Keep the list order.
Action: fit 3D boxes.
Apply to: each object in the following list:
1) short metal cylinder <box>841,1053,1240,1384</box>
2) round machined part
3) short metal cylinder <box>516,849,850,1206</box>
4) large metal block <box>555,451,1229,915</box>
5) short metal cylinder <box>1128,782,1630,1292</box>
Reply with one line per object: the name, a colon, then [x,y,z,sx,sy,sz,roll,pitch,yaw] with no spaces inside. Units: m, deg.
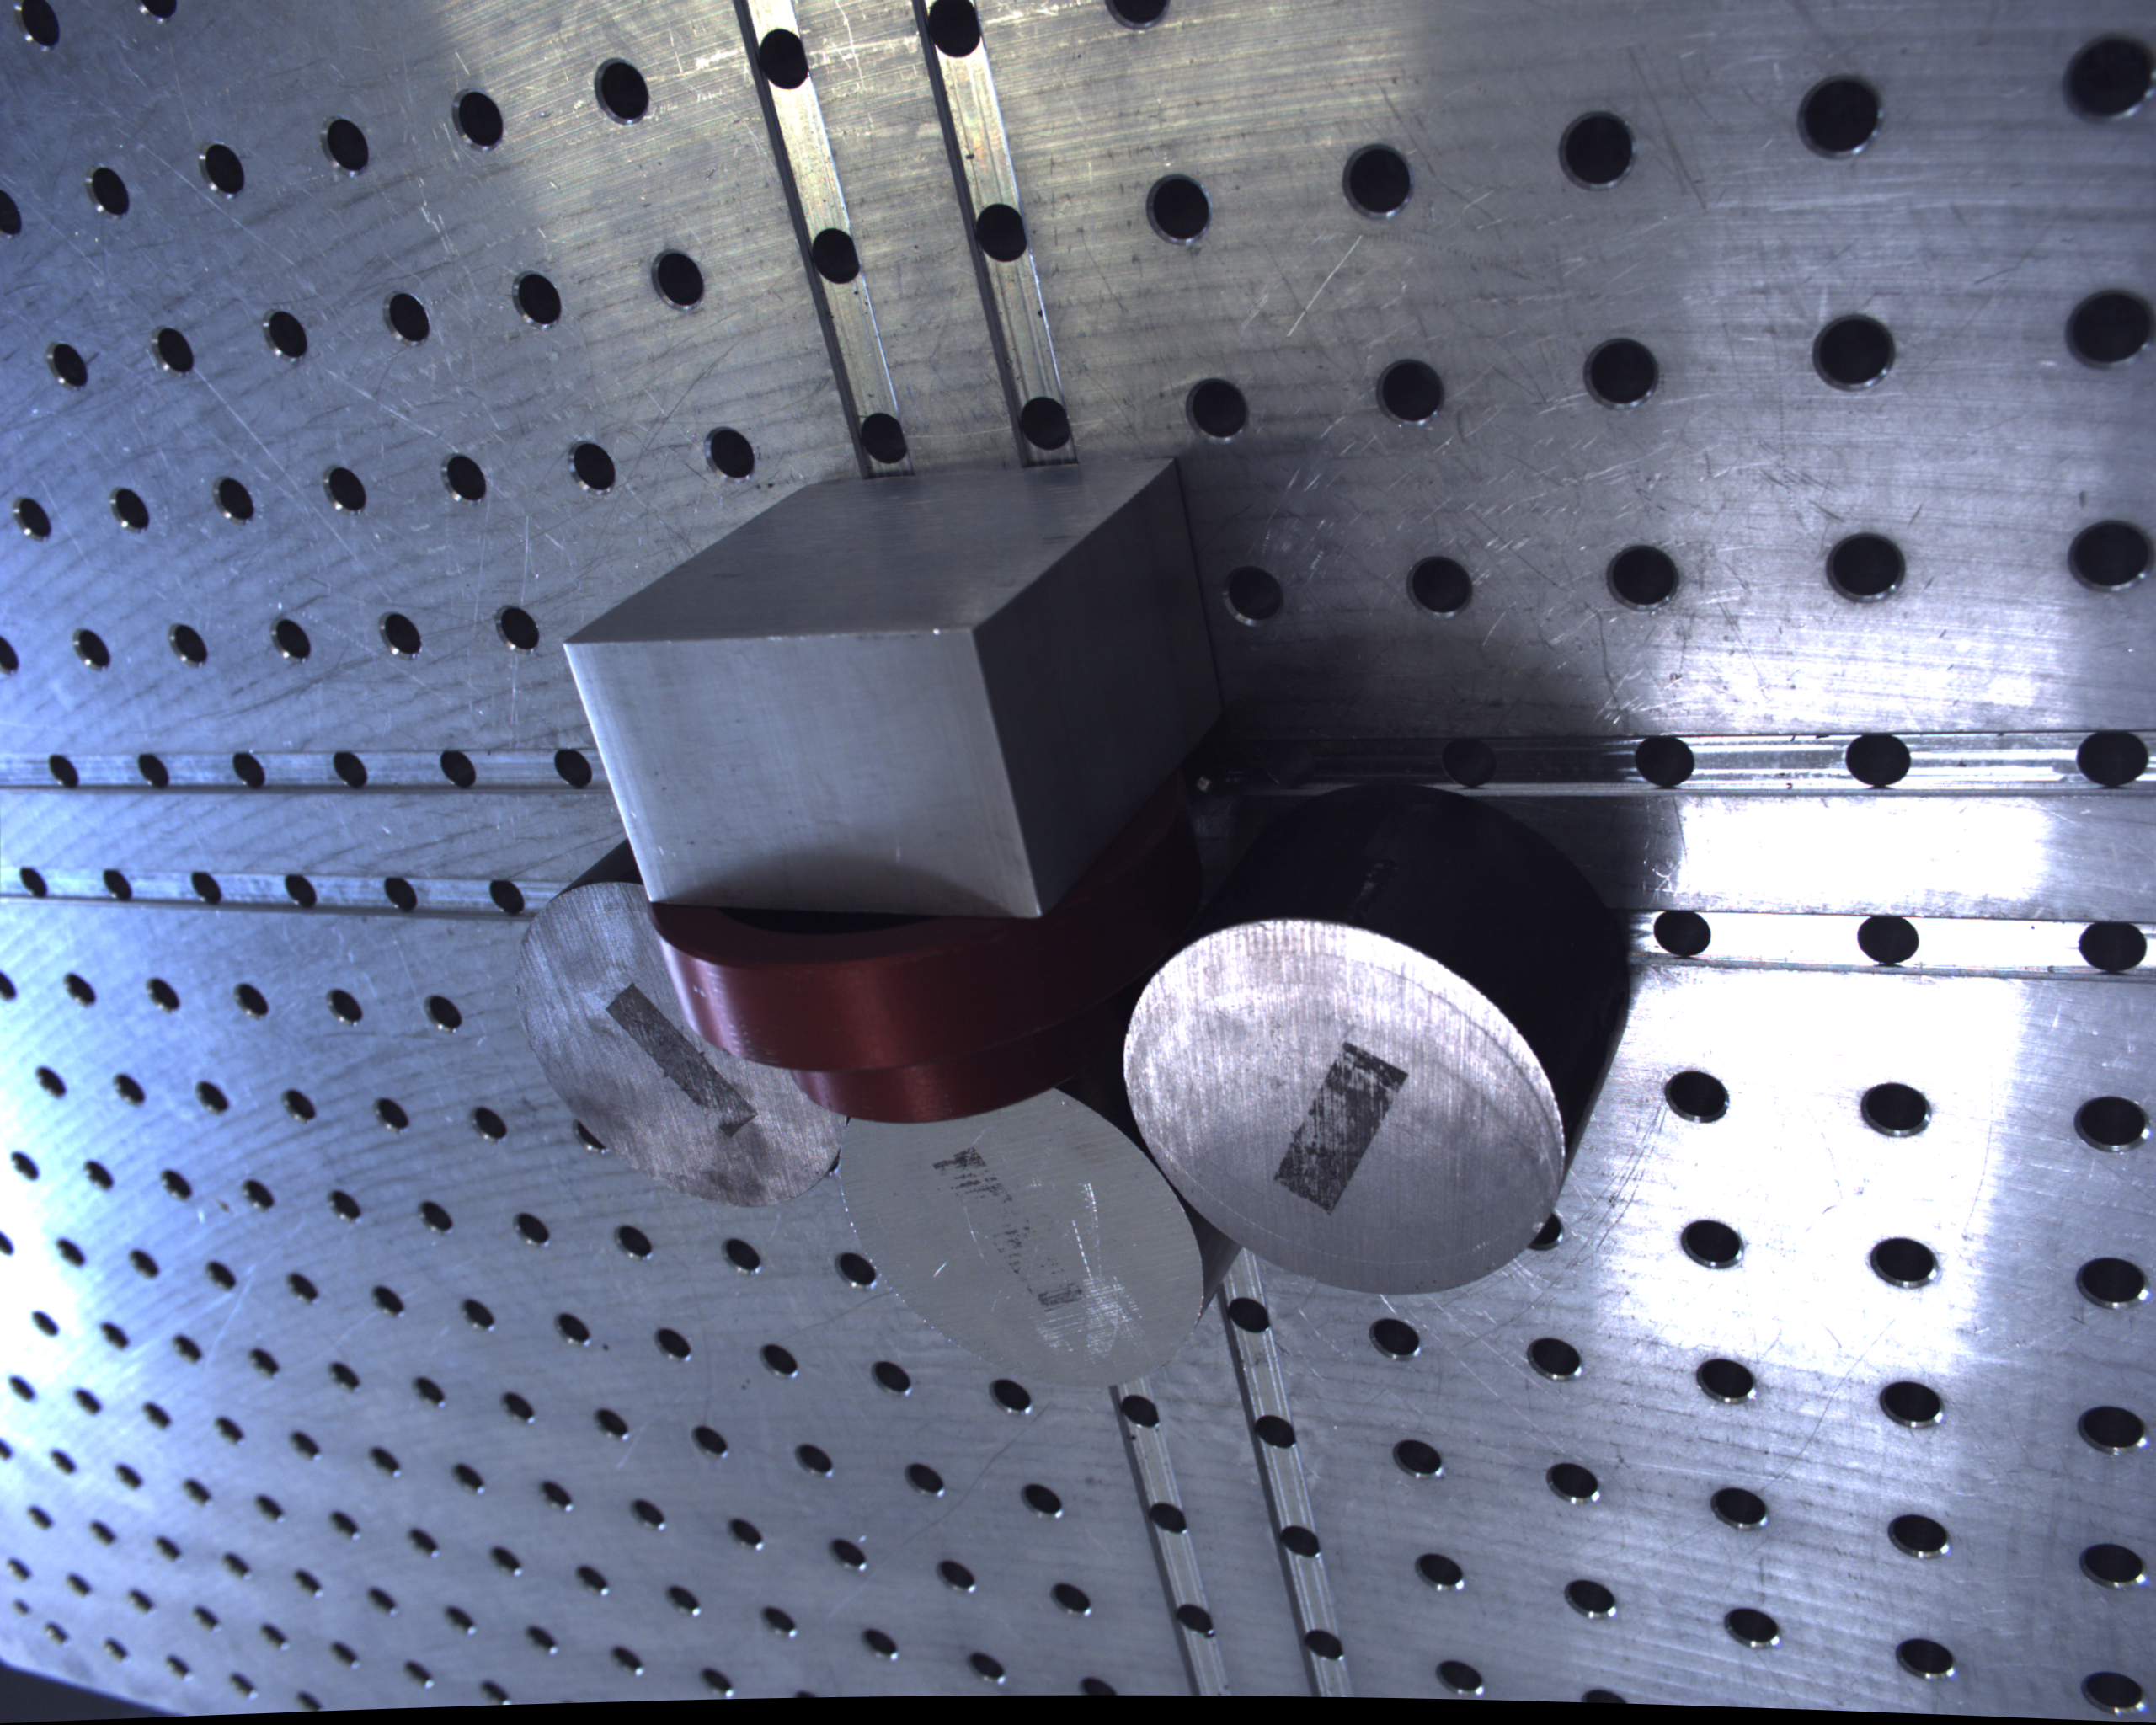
short metal cylinder: [-0.002,0.061,0.434,0.080,0.050,0.079,13,124,21]
round machined part: [-0.026,0.013,0.383,0.098,0.098,0.042,2,119,27]
short metal cylinder: [-0.072,0.027,0.450,0.080,0.050,0.079,13,124,21]
large metal block: [-0.029,-0.033,0.370,0.080,0.080,0.050,1,119,28]
short metal cylinder: [0.056,0.032,0.386,0.080,0.050,0.079,13,124,21]
